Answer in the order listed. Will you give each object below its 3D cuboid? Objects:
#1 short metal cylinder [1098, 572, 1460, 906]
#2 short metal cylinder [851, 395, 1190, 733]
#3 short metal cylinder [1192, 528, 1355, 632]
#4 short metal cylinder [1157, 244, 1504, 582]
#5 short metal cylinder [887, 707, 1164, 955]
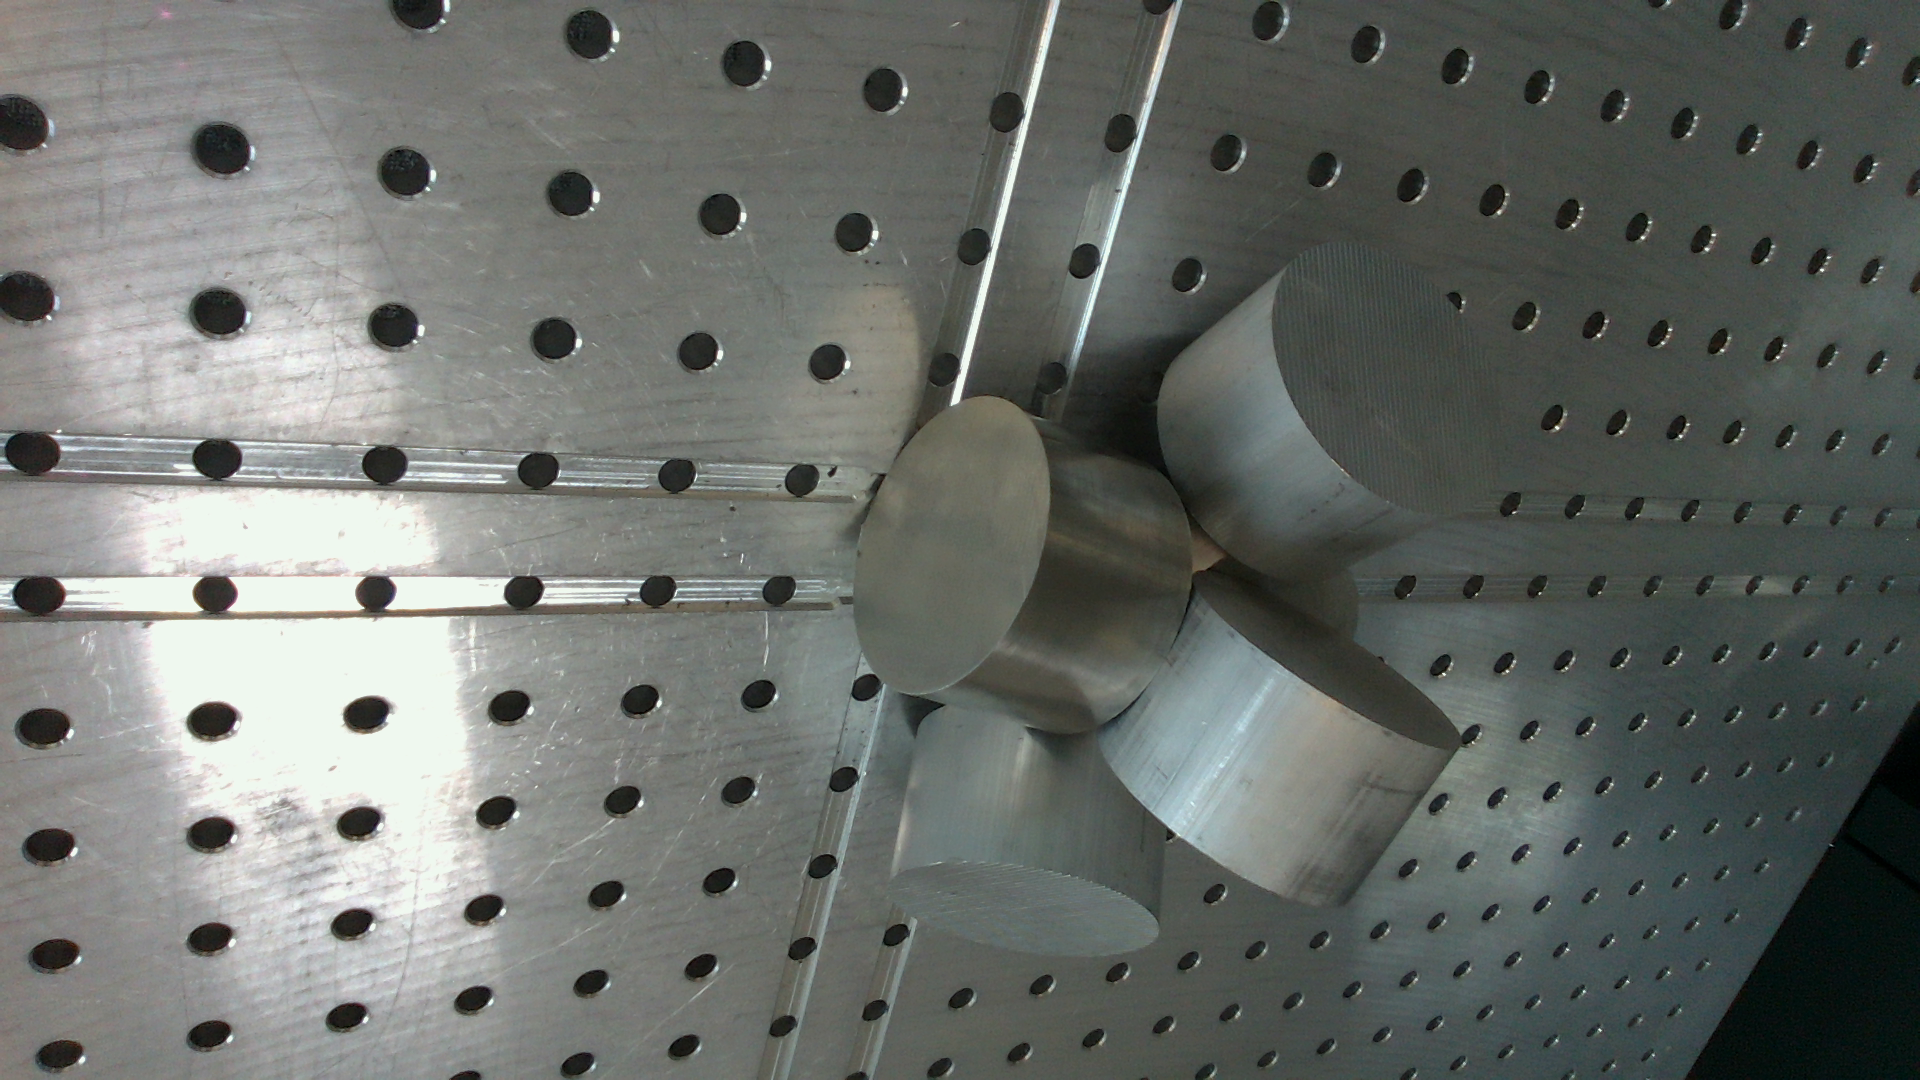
[{"bbox_3d":[0.084,0.051,0.369,0.080,0.080,0.050,19,108,-35],"label":"short metal cylinder"},{"bbox_3d":[0.015,0.007,0.369,0.050,0.080,0.080,20,108,-36],"label":"short metal cylinder"},{"bbox_3d":[0.075,0.023,0.430,0.080,0.050,0.080,-13,123,-21],"label":"short metal cylinder"},{"bbox_3d":[0.102,-0.034,0.382,0.080,0.080,0.050,2,157,-29],"label":"short metal cylinder"},{"bbox_3d":[0.022,0.088,0.415,0.080,0.050,0.080,8,149,5],"label":"short metal cylinder"}]
